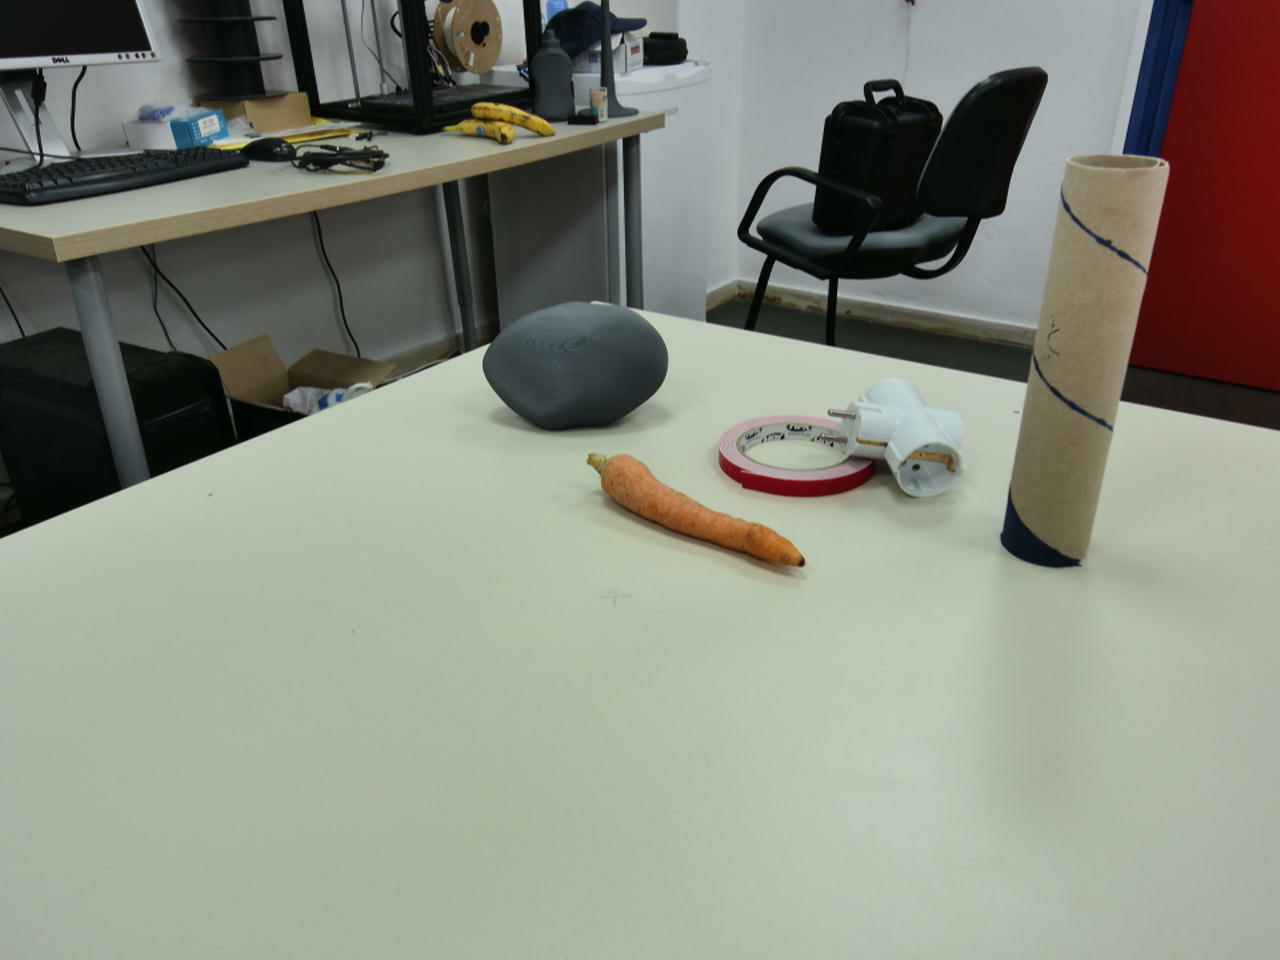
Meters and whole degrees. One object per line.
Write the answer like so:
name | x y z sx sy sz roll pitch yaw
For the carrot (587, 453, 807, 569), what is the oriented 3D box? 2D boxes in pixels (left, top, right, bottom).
carrot | 0.030 0.017 0.614 0.030 0.032 0.173 -23 33 -39
